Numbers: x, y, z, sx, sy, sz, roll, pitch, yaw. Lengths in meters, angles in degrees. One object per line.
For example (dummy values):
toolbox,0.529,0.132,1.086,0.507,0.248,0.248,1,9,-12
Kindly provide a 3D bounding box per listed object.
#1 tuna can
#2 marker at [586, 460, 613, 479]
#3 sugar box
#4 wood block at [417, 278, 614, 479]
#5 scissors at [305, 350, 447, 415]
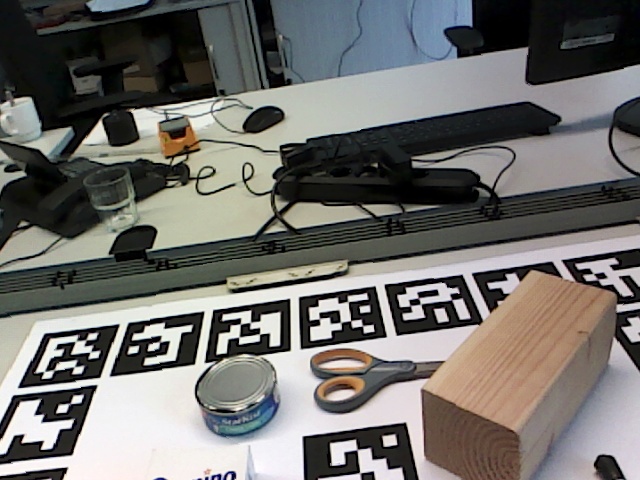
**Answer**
tuna can,-0.094,0.167,0.663,0.086,0.033,0.086,-8,32,5
marker,0.236,0.225,0.481,0.019,0.019,0.121,-8,33,5
sugar box,-0.116,0.258,0.519,0.093,0.045,0.177,-6,32,7
wood block,0.191,0.134,0.584,0.090,0.090,0.205,18,41,40
scissors,0.079,0.147,0.664,0.203,0.016,0.088,-6,32,12
